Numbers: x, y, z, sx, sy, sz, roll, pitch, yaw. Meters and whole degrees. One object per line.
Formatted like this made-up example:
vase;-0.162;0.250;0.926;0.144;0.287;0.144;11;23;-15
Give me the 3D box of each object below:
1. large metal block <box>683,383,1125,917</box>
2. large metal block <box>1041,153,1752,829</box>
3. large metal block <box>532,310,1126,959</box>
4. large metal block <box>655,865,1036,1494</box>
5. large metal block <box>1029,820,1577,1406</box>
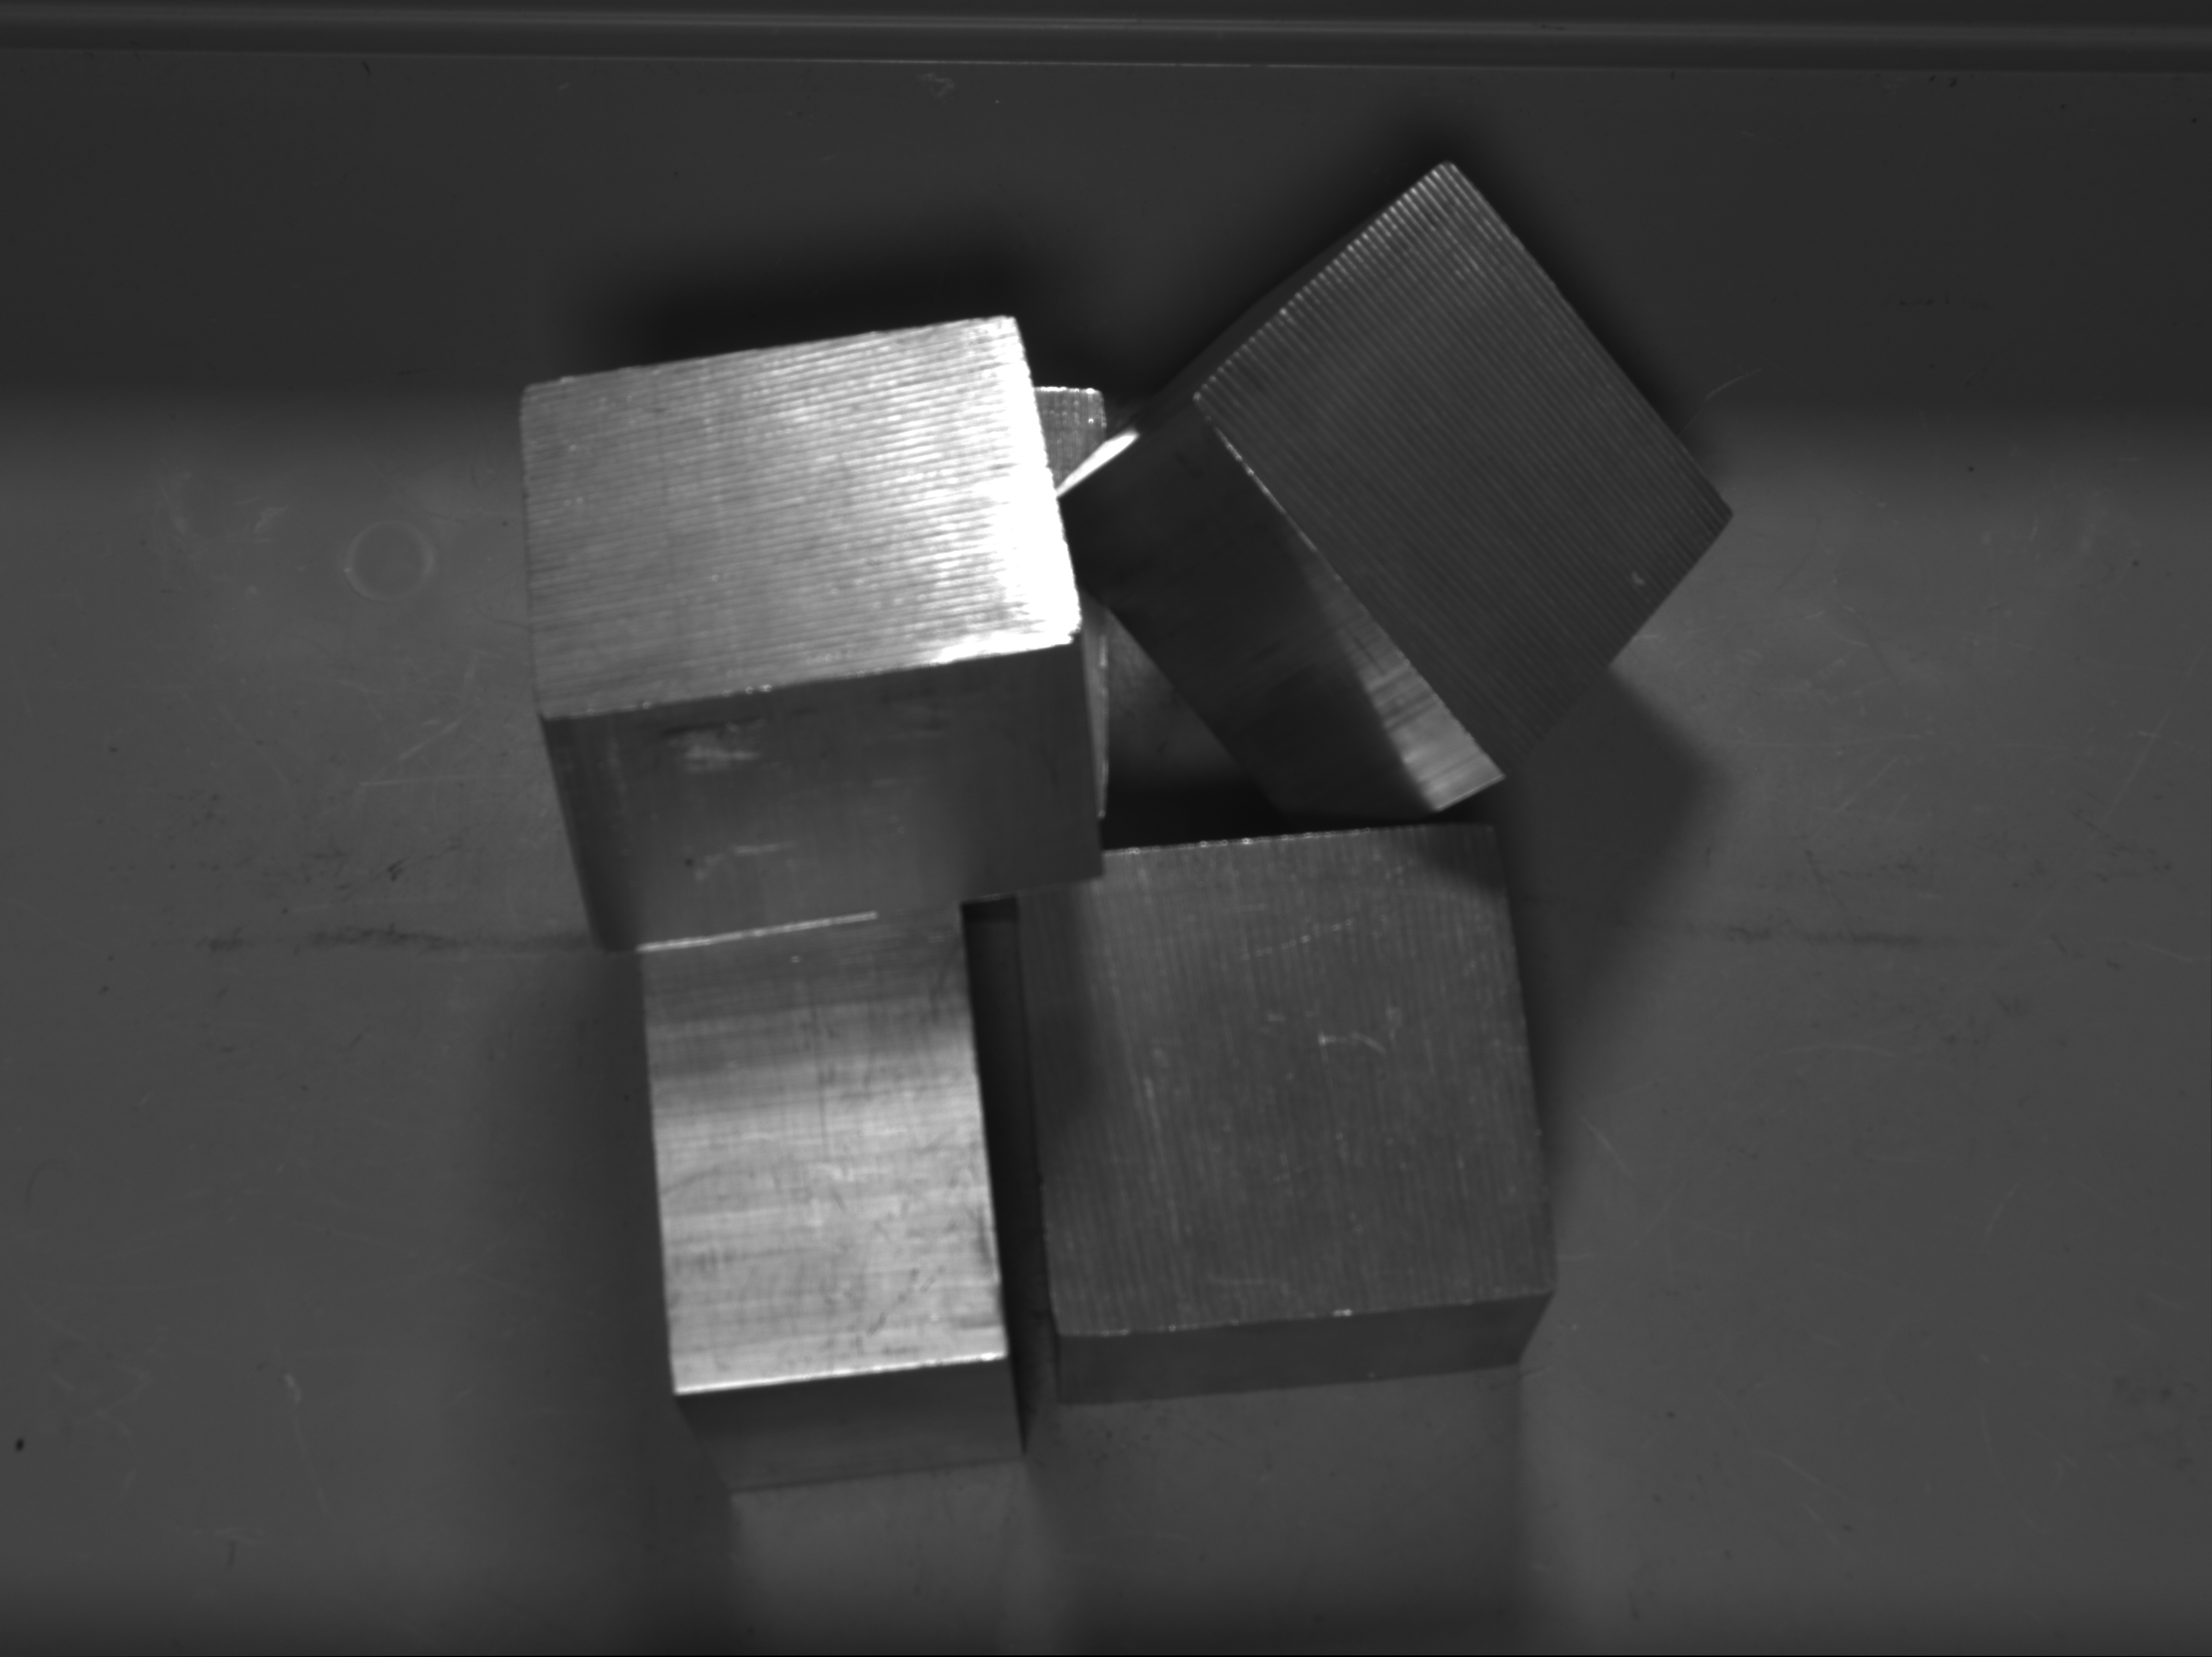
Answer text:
large metal block;-0.037;-0.030;0.642;0.080;0.050;0.080;-1;70;0
large metal block;0.050;-0.053;0.623;0.080;0.050;0.080;50;54;-8
large metal block;-0.044;-0.031;0.573;0.080;0.050;0.080;-9;45;-3
large metal block;-0.041;0.058;0.593;0.050;0.080;0.080;-6;70;-2
large metal block;0.031;0.048;0.610;0.080;0.050;0.080;-5;70;-2
